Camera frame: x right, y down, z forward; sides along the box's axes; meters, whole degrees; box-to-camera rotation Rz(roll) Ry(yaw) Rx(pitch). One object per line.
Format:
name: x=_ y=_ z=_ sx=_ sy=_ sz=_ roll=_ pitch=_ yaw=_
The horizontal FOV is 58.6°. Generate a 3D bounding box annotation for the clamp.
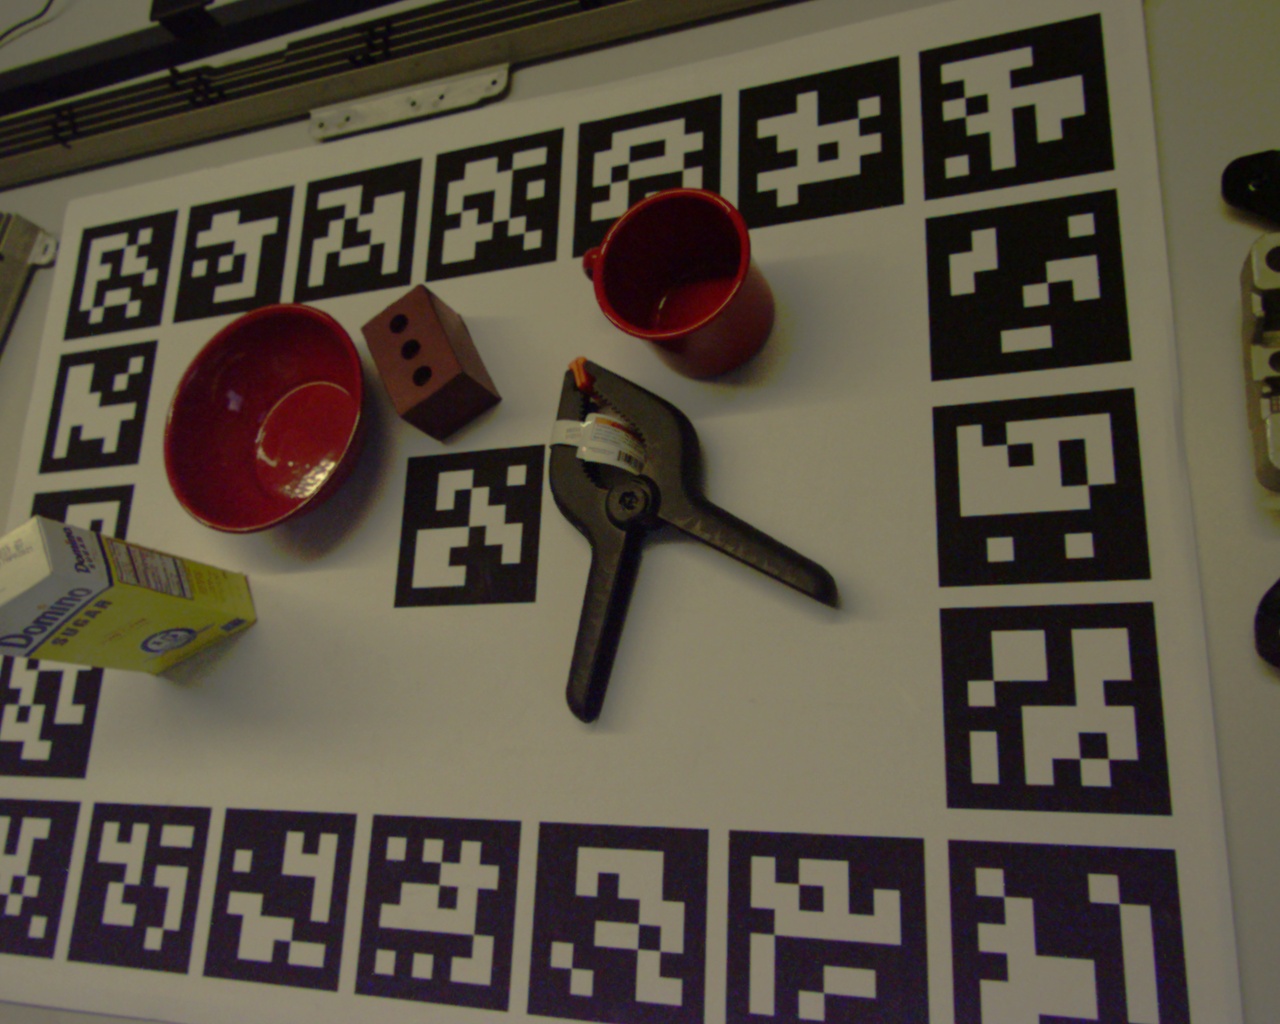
clamp: x=-0.013 y=-0.002 z=0.697 sx=0.166 sy=0.036 sz=0.204 roll=-28 pitch=68 yaw=16

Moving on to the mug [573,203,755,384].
mug: x=0.013 y=-0.132 z=0.700 sx=0.118 sy=0.080 sz=0.093 roll=23 pitch=86 yaw=22

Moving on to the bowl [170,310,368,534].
bowl: x=-0.250 y=-0.057 z=0.807 sx=0.163 sy=0.054 sz=0.162 roll=-6 pitch=74 yaw=20

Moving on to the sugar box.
sugar box: x=-0.343 y=0.063 z=0.747 sx=0.093 sy=0.174 sz=0.045 roll=-29 pitch=70 yaw=11

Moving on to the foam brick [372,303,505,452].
foam brick: x=-0.138 y=-0.090 z=0.777 sx=0.053 sy=0.051 sz=0.078 roll=-32 pitch=68 yaw=13
